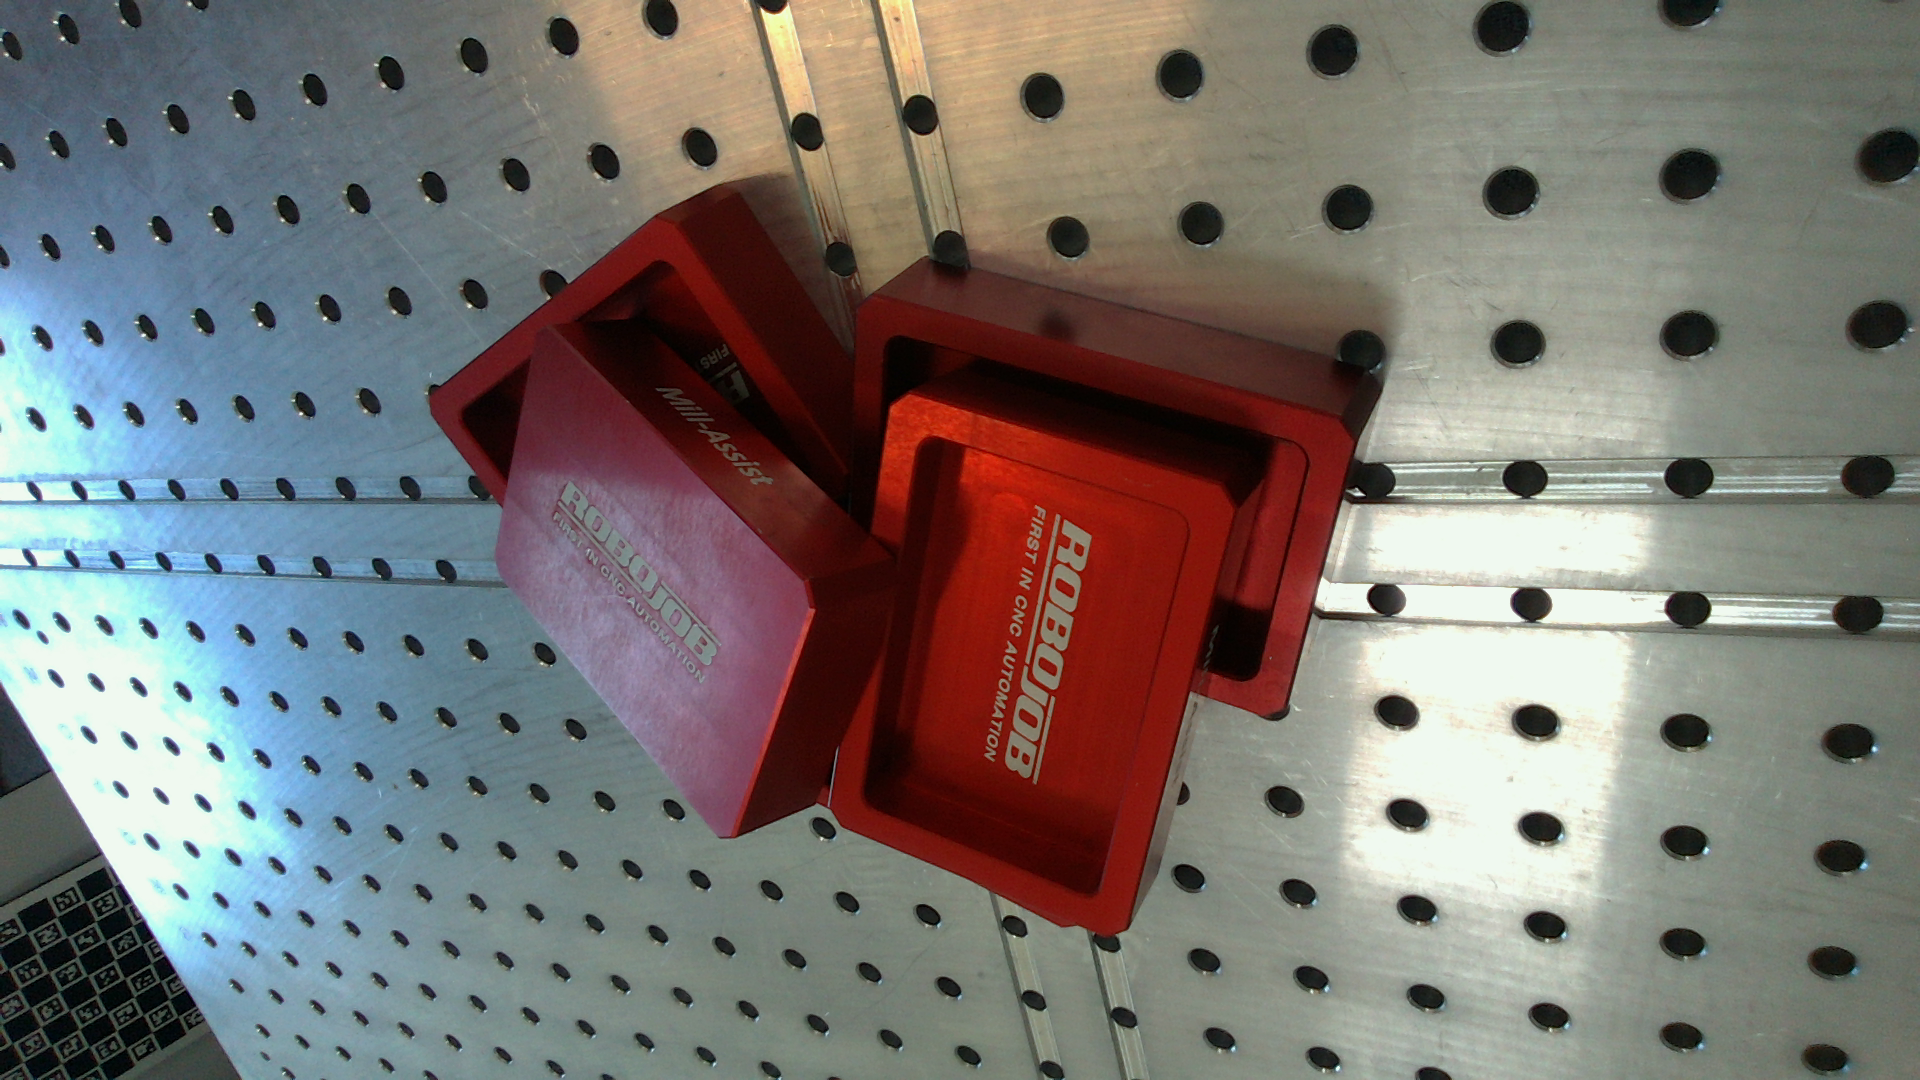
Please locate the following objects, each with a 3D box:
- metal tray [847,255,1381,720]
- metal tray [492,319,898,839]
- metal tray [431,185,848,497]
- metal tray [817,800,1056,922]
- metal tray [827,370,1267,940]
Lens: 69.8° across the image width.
[{"bbox_3d":[0.034,-0.015,0.364,0.130,0.030,0.090,18,125,19],"label":"metal tray"},{"bbox_3d":[-0.081,0.008,0.388,0.130,0.030,0.090,41,125,29],"label":"metal tray"},{"bbox_3d":[-0.094,-0.037,0.420,0.129,0.030,0.090,-25,105,37],"label":"metal tray"},{"bbox_3d":[-0.007,0.056,0.431,0.130,0.030,0.090,24,127,14],"label":"metal tray"},{"bbox_3d":[0.019,0.030,0.361,0.090,0.030,0.130,18,114,18],"label":"metal tray"}]
